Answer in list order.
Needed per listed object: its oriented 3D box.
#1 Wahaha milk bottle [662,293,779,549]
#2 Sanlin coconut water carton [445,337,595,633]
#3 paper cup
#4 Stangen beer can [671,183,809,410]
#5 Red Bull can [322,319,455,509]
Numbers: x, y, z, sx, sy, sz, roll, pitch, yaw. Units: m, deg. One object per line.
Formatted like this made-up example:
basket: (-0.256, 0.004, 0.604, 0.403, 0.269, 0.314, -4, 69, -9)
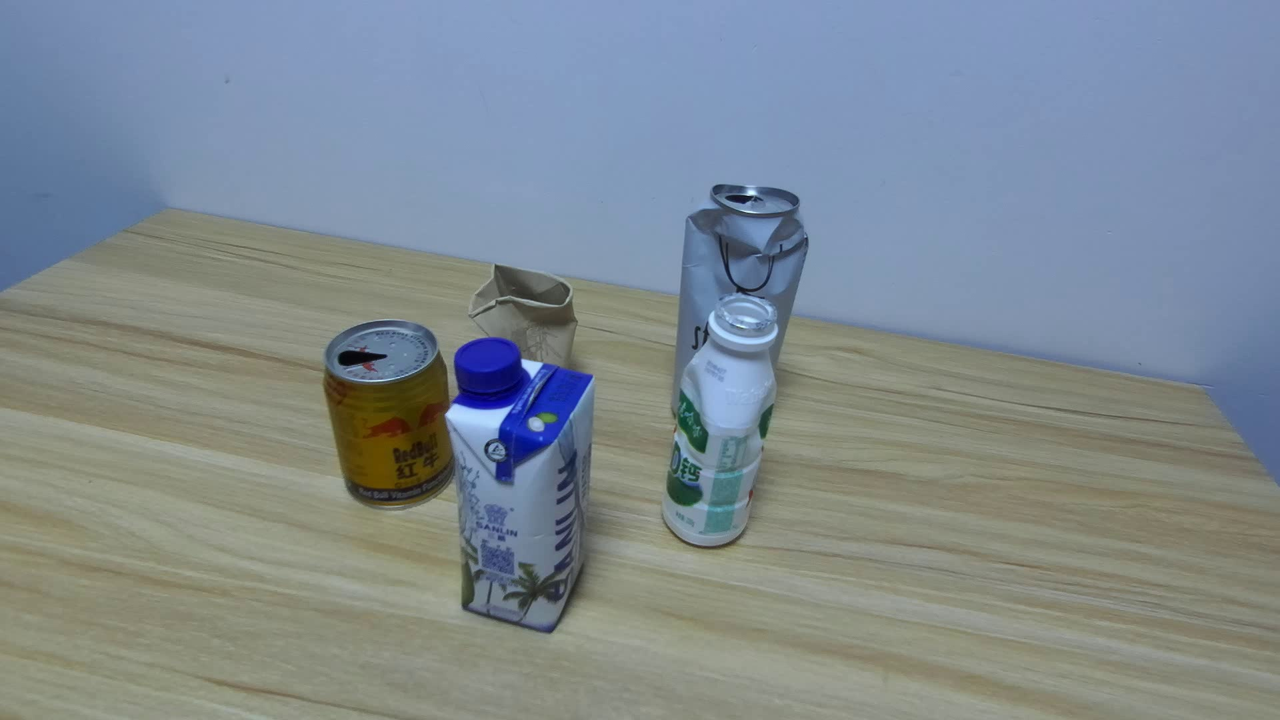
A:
Wahaha milk bottle: (0.047, 0.035, 0.381, 0.056, 0.149, 0.055, 5, 36, -3)
Sanlin coconut water carton: (-0.056, 0.061, 0.342, 0.060, 0.144, 0.060, 12, 34, 9)
paper cup: (-0.081, -0.012, 0.489, 0.066, 0.083, 0.058, 13, 38, 15)
Stangen beer can: (0.062, -0.029, 0.458, 0.066, 0.166, 0.065, -24, 44, -38)
Red Bull can: (-0.143, 0.031, 0.410, 0.067, 0.093, 0.067, 4, 35, -3)
